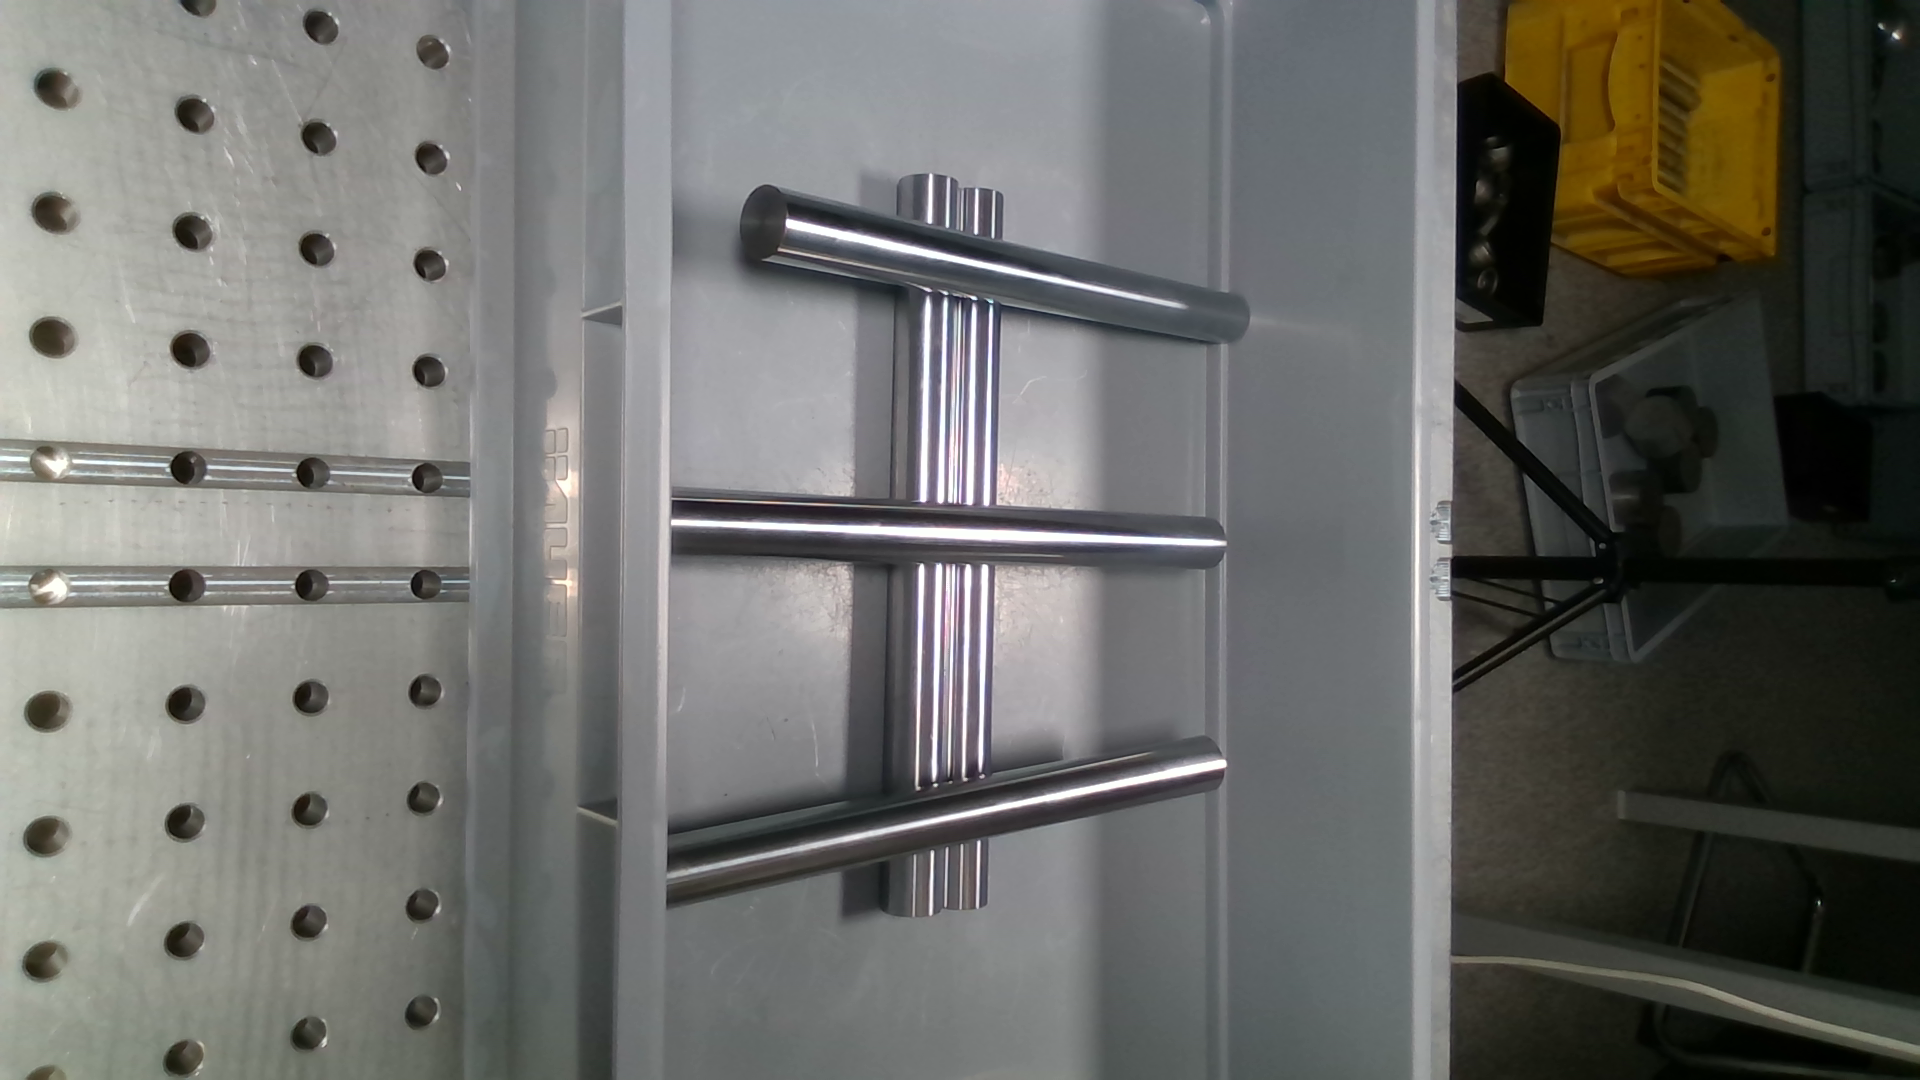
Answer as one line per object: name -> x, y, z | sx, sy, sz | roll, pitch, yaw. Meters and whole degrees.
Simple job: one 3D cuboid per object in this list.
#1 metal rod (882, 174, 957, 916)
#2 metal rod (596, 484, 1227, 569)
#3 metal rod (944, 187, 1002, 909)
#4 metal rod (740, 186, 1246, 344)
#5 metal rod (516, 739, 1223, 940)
metal rod -> -0.017, 0.002, 0.568 | 0.025, 0.025, 0.300 | 2, 89, -40
metal rod -> 0.000, -0.002, 0.550 | 0.300, 0.025, 0.025 | 2, 89, -40
metal rod -> 0.002, 0.003, 0.584 | 0.025, 0.025, 0.300 | 2, 89, -40
metal rod -> 0.033, -0.109, 0.578 | 0.300, 0.025, 0.025 | -1, 91, -48
metal rod -> -0.018, 0.111, 0.538 | 0.300, 0.025, 0.025 | -5, 93, -32
